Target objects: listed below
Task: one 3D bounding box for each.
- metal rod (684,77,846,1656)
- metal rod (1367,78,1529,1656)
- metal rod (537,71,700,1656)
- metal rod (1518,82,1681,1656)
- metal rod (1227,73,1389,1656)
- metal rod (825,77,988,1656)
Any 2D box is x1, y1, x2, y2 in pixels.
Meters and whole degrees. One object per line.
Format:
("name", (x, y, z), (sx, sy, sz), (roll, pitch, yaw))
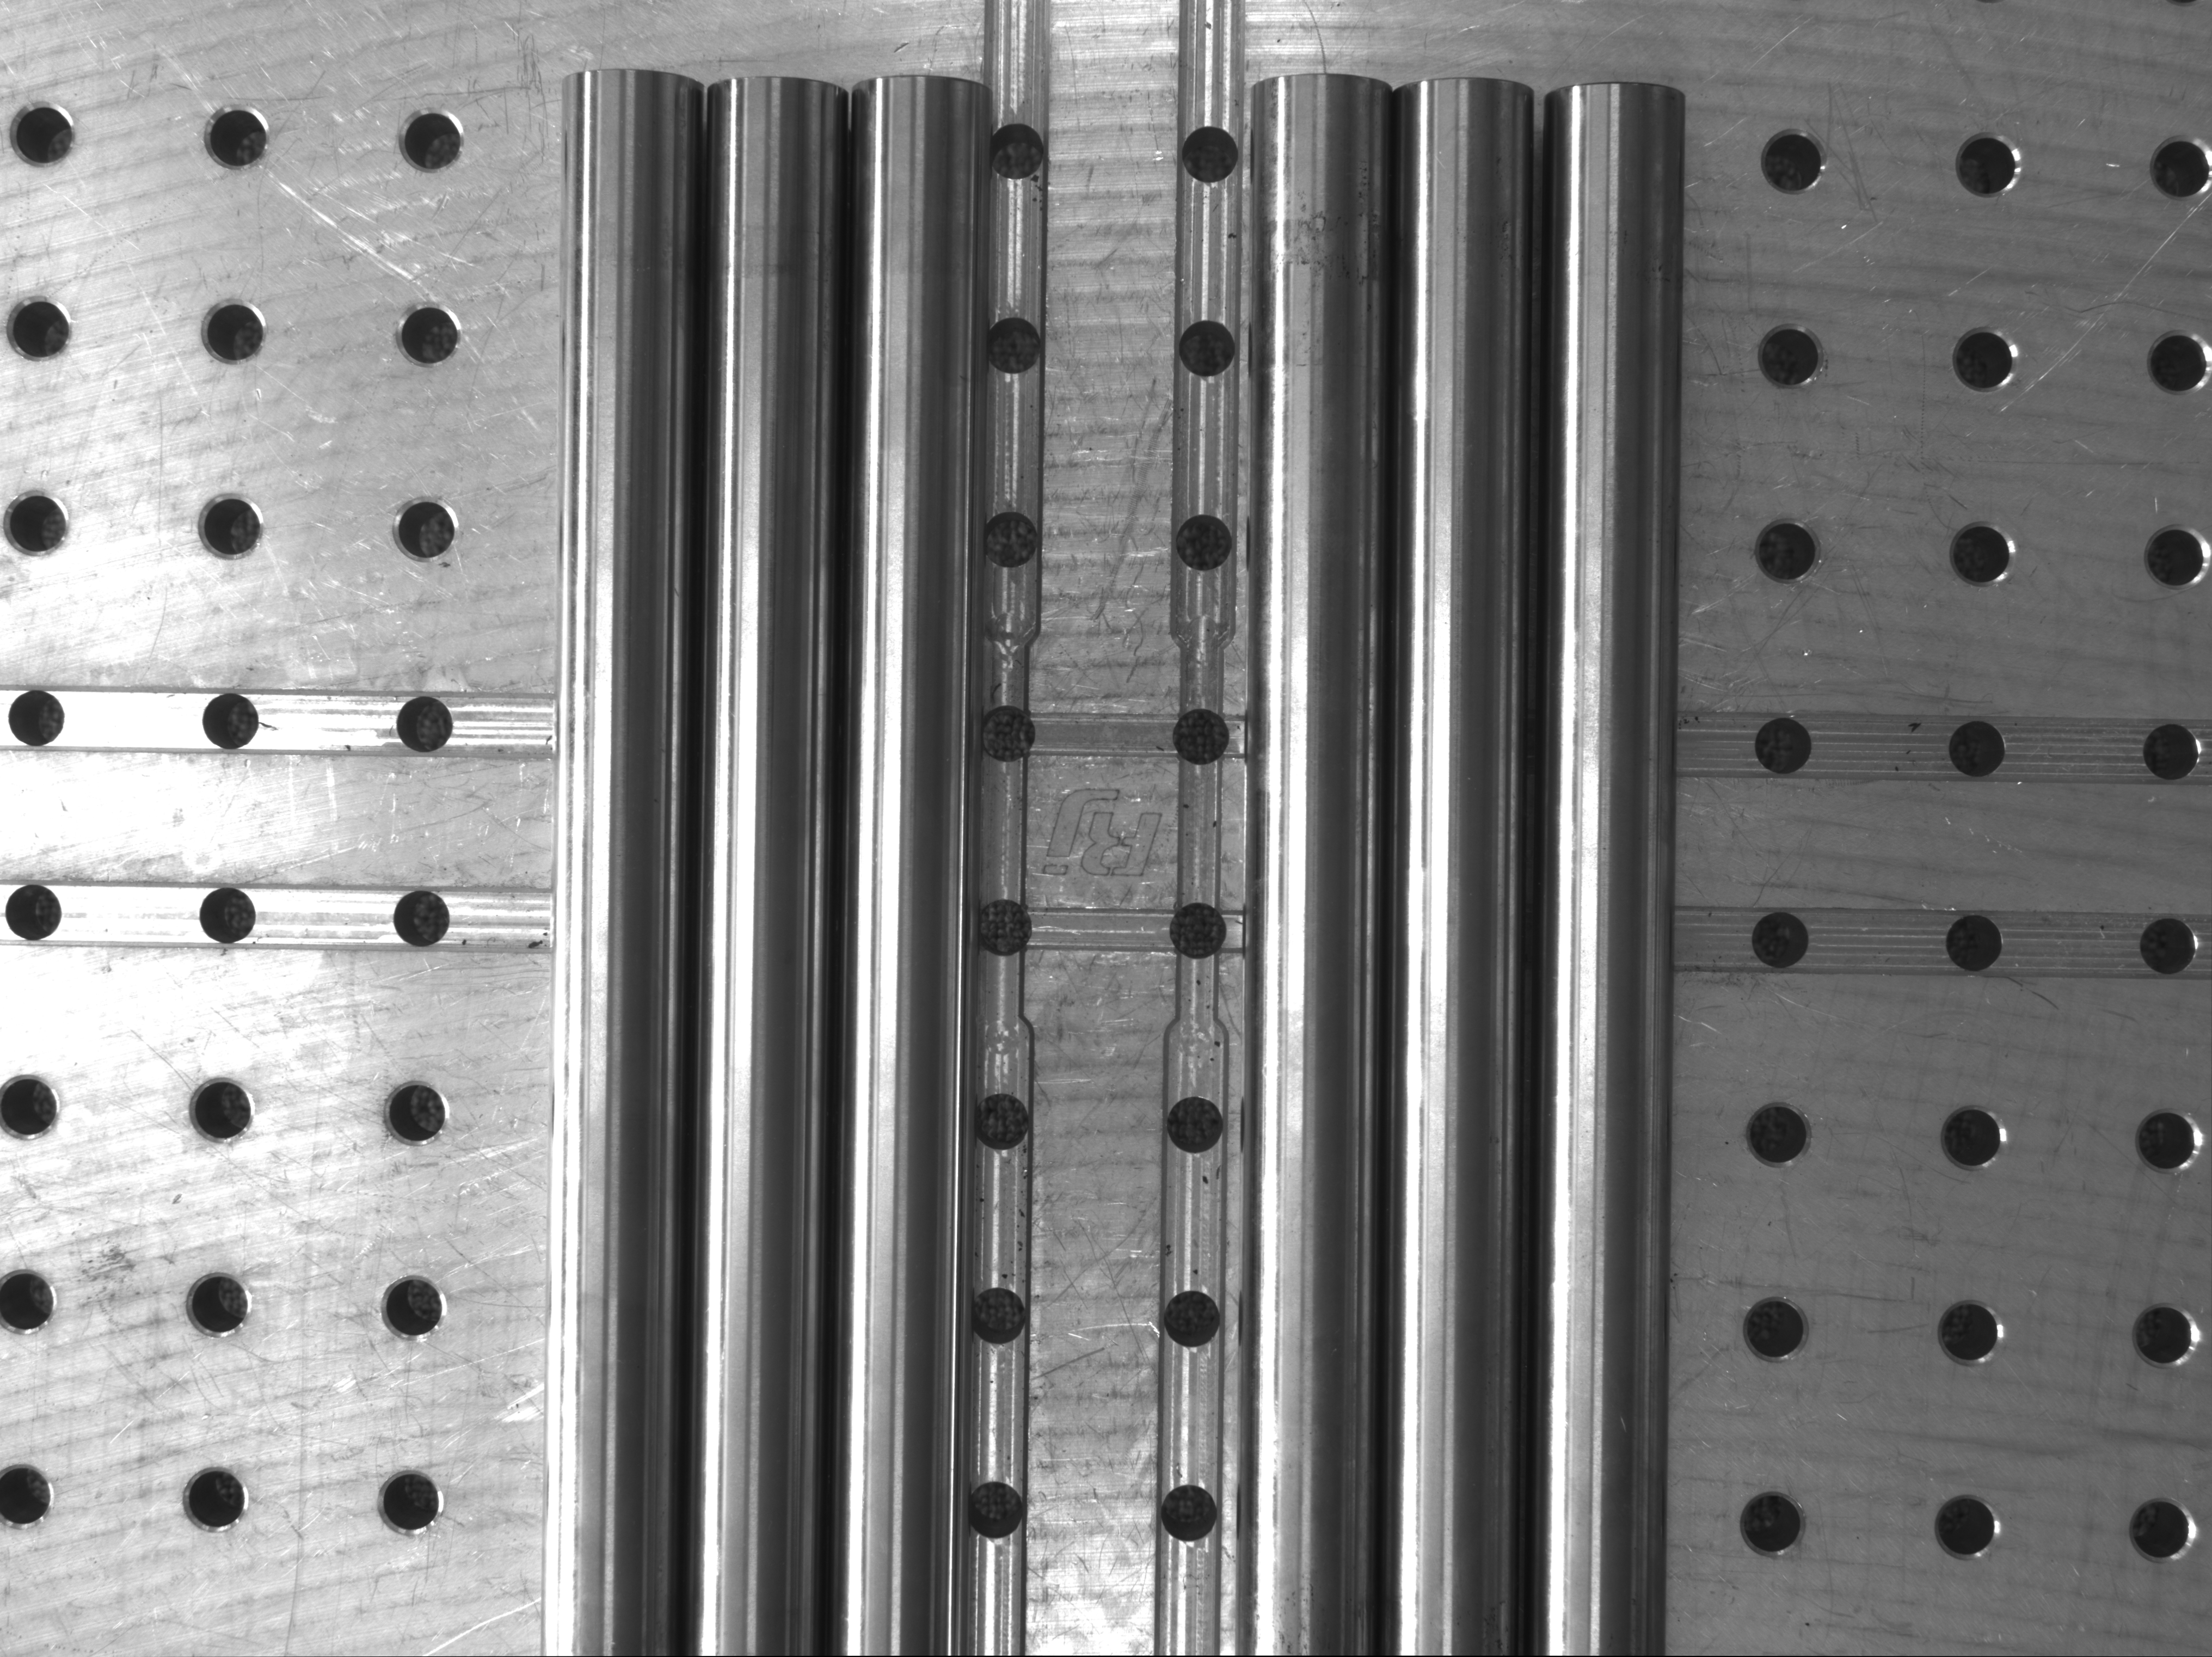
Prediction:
("metal rod", (-0.060, 0.020, 0.648), (0.025, 0.025, 0.300), (1, 90, 0))
("metal rod", (0.060, 0.020, 0.648), (0.025, 0.025, 0.300), (1, 90, 0))
("metal rod", (-0.086, 0.019, 0.648), (0.025, 0.025, 0.300), (1, 90, 0))
("metal rod", (0.087, 0.021, 0.648), (0.025, 0.025, 0.300), (1, 90, 0))
("metal rod", (0.035, 0.019, 0.648), (0.025, 0.025, 0.300), (1, 90, 0))
("metal rod", (-0.035, 0.020, 0.648), (0.025, 0.025, 0.300), (1, 90, 0))
